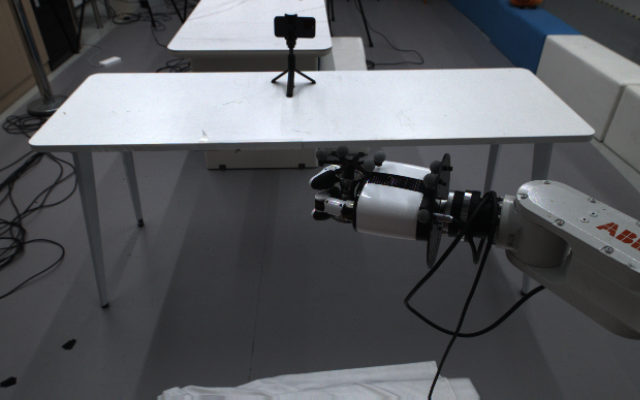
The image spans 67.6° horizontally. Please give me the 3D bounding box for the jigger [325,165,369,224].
[{"bbox_3d":[0.043,-0.008,0.702,0.043,0.071,0.043,3,25,-1],"label":"jigger"}]
